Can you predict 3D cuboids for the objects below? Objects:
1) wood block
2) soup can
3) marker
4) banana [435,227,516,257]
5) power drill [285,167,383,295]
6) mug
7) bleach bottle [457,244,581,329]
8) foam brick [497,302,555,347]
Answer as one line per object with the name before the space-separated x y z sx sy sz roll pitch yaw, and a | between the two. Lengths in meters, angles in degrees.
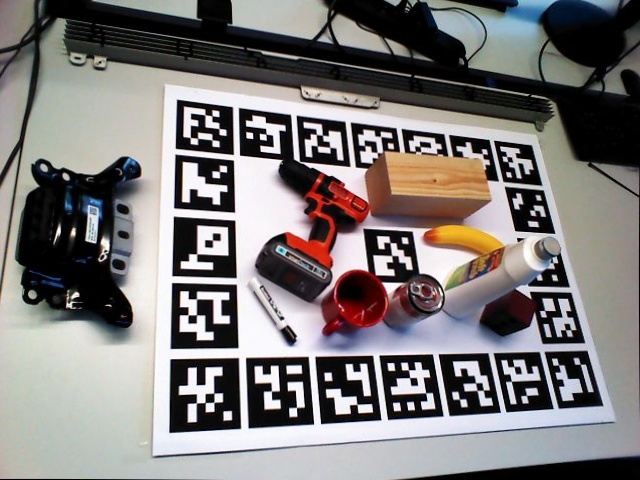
wood block | 0.230 -0.084 0.956 0.206 0.091 0.089 3 68 -19
soup can | 0.176 0.111 0.837 0.068 0.103 0.067 9 61 -18
marker | -0.052 0.123 0.806 0.019 0.020 0.121 -28 80 -26
banana | 0.306 0.011 0.968 0.197 0.039 0.074 19 76 -14
power drill | 0.008 -0.016 0.869 0.184 0.058 0.185 32 60 -9
mug | 0.069 0.114 0.814 0.093 0.082 0.116 44 64 0
bleach bottle | 0.313 0.065 0.828 0.068 0.252 0.102 31 60 -5
foam brick | 0.362 0.146 0.913 0.053 0.078 0.051 34 58 -1
